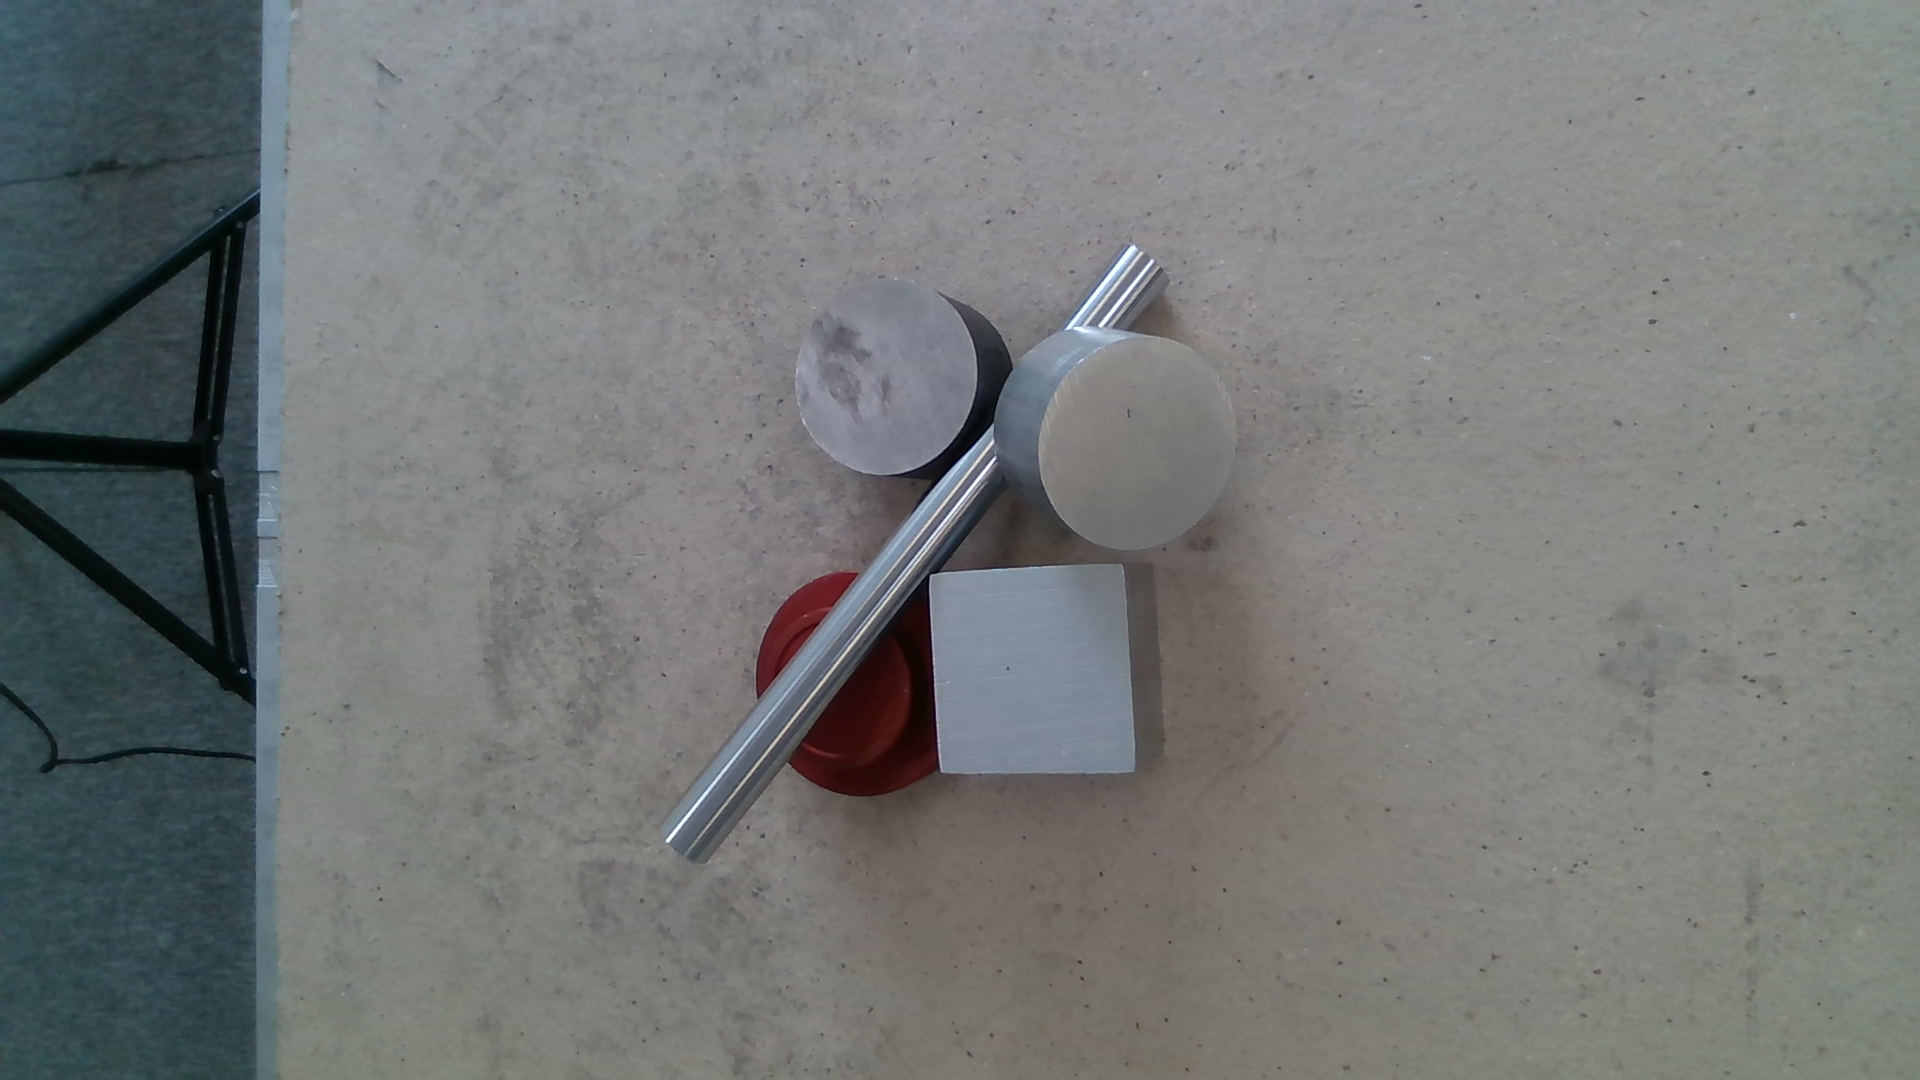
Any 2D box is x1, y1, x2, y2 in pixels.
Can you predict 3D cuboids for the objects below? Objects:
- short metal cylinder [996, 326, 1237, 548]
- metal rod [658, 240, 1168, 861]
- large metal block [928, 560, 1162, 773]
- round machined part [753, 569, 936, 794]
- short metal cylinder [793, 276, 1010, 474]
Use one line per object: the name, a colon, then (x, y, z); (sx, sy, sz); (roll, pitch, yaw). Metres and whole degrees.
short metal cylinder: (0.059, -0.042, 0.531); (0.080, 0.050, 0.080); (-4, 105, -17)
metal rod: (-0.019, 0.004, 0.557); (0.025, 0.025, 0.300); (38, 90, 16)
large metal block: (0.036, 0.050, 0.558); (0.080, 0.050, 0.080); (-3, 89, 20)
round machined part: (-0.047, 0.061, 0.594); (0.098, 0.042, 0.098); (0, 91, 20)
short metal cylinder: (-0.023, -0.067, 0.582); (0.080, 0.050, 0.080); (0, 91, 20)
